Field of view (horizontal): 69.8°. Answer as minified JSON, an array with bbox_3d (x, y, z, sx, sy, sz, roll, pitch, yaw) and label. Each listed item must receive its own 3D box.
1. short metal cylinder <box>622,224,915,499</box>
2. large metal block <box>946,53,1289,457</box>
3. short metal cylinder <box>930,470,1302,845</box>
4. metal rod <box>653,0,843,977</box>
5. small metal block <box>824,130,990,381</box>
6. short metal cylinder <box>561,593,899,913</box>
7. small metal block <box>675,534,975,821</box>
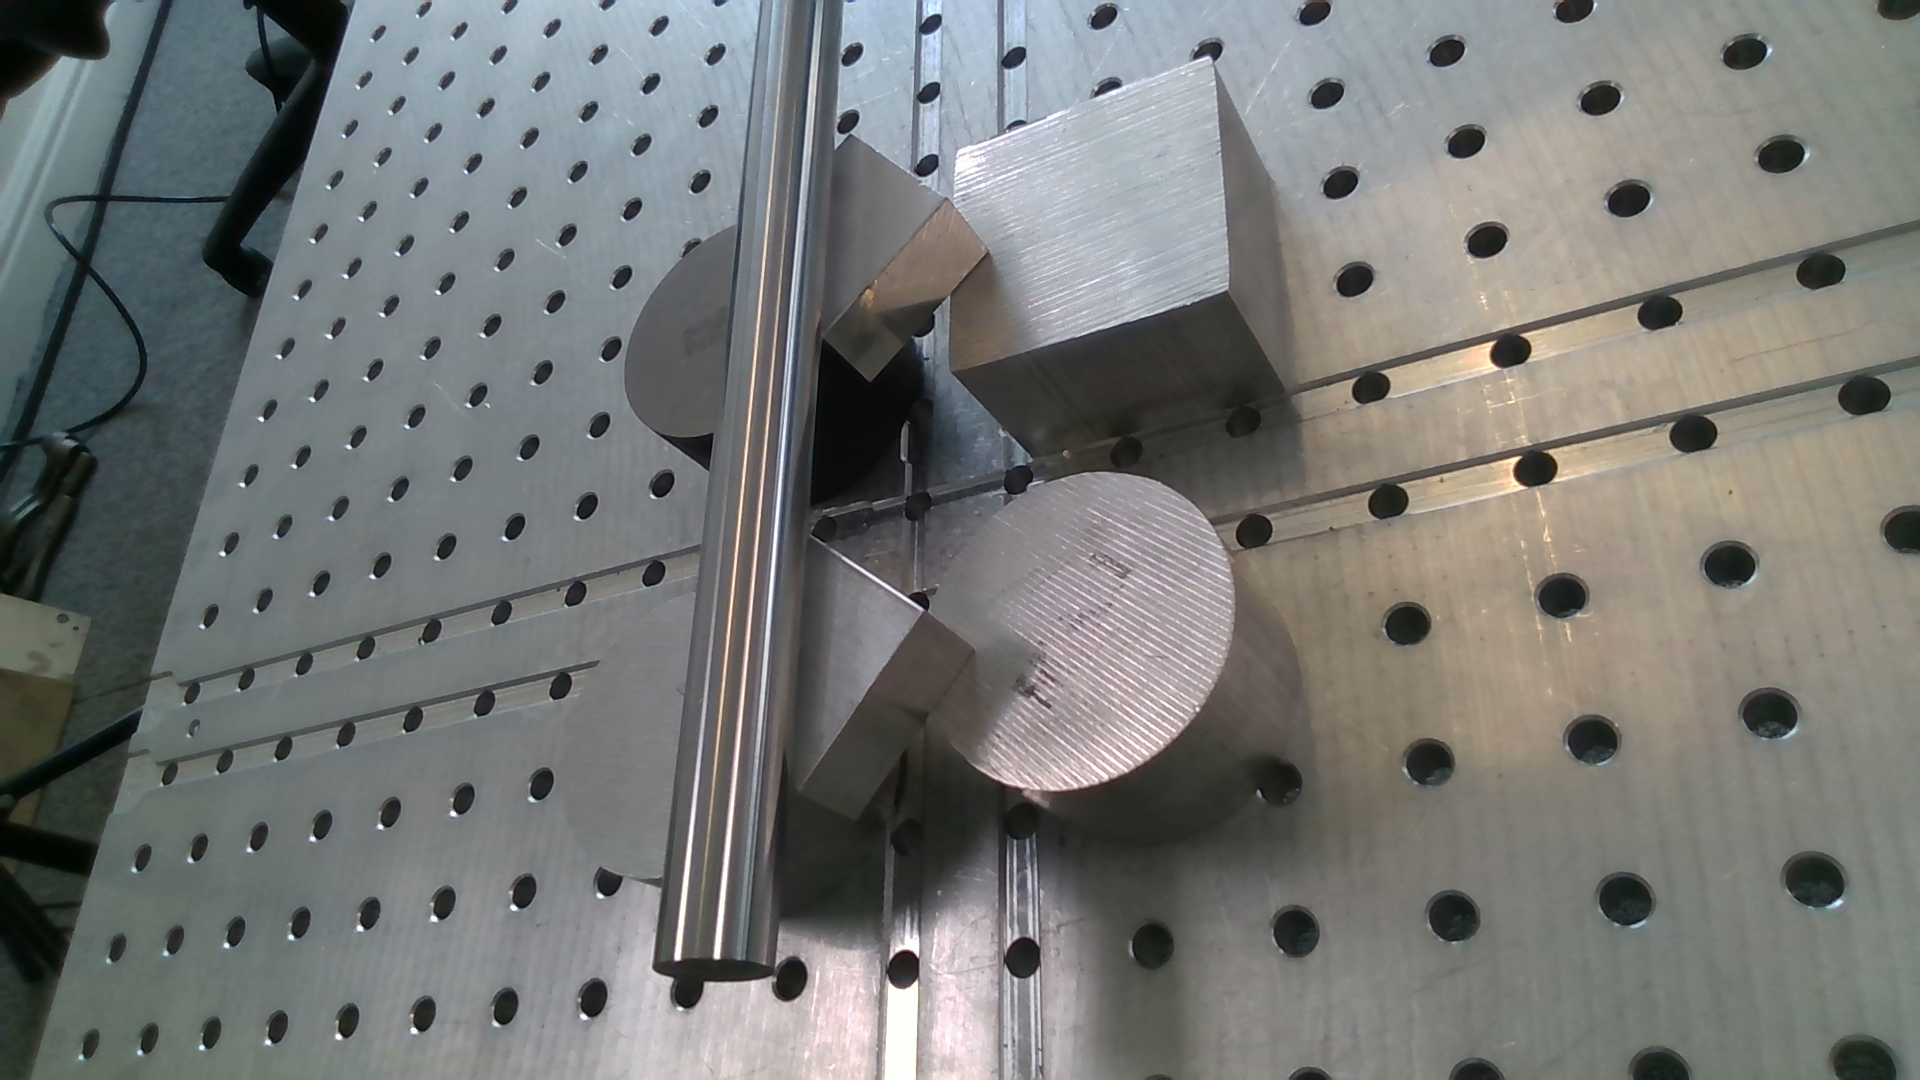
[{"bbox_3d":[-0.062,-0.058,0.447,0.080,0.050,0.080,-14,59,25],"label":"short metal cylinder"},{"bbox_3d":[0.044,-0.079,0.394,0.080,0.050,0.080,-13,59,26],"label":"large metal block"},{"bbox_3d":[0.038,0.030,0.341,0.080,0.050,0.080,-14,59,25],"label":"short metal cylinder"},{"bbox_3d":[-0.049,-0.045,0.352,0.025,0.025,0.299,-14,59,25],"label":"metal rod"},{"bbox_3d":[-0.029,-0.082,0.393,0.050,0.025,0.050,-48,51,1],"label":"small metal block"},{"bbox_3d":[-0.064,0.060,0.388,0.080,0.050,0.080,-14,59,25],"label":"short metal cylinder"},{"bbox_3d":[-0.033,0.031,0.336,0.050,0.025,0.050,31,84,39],"label":"small metal block"}]
